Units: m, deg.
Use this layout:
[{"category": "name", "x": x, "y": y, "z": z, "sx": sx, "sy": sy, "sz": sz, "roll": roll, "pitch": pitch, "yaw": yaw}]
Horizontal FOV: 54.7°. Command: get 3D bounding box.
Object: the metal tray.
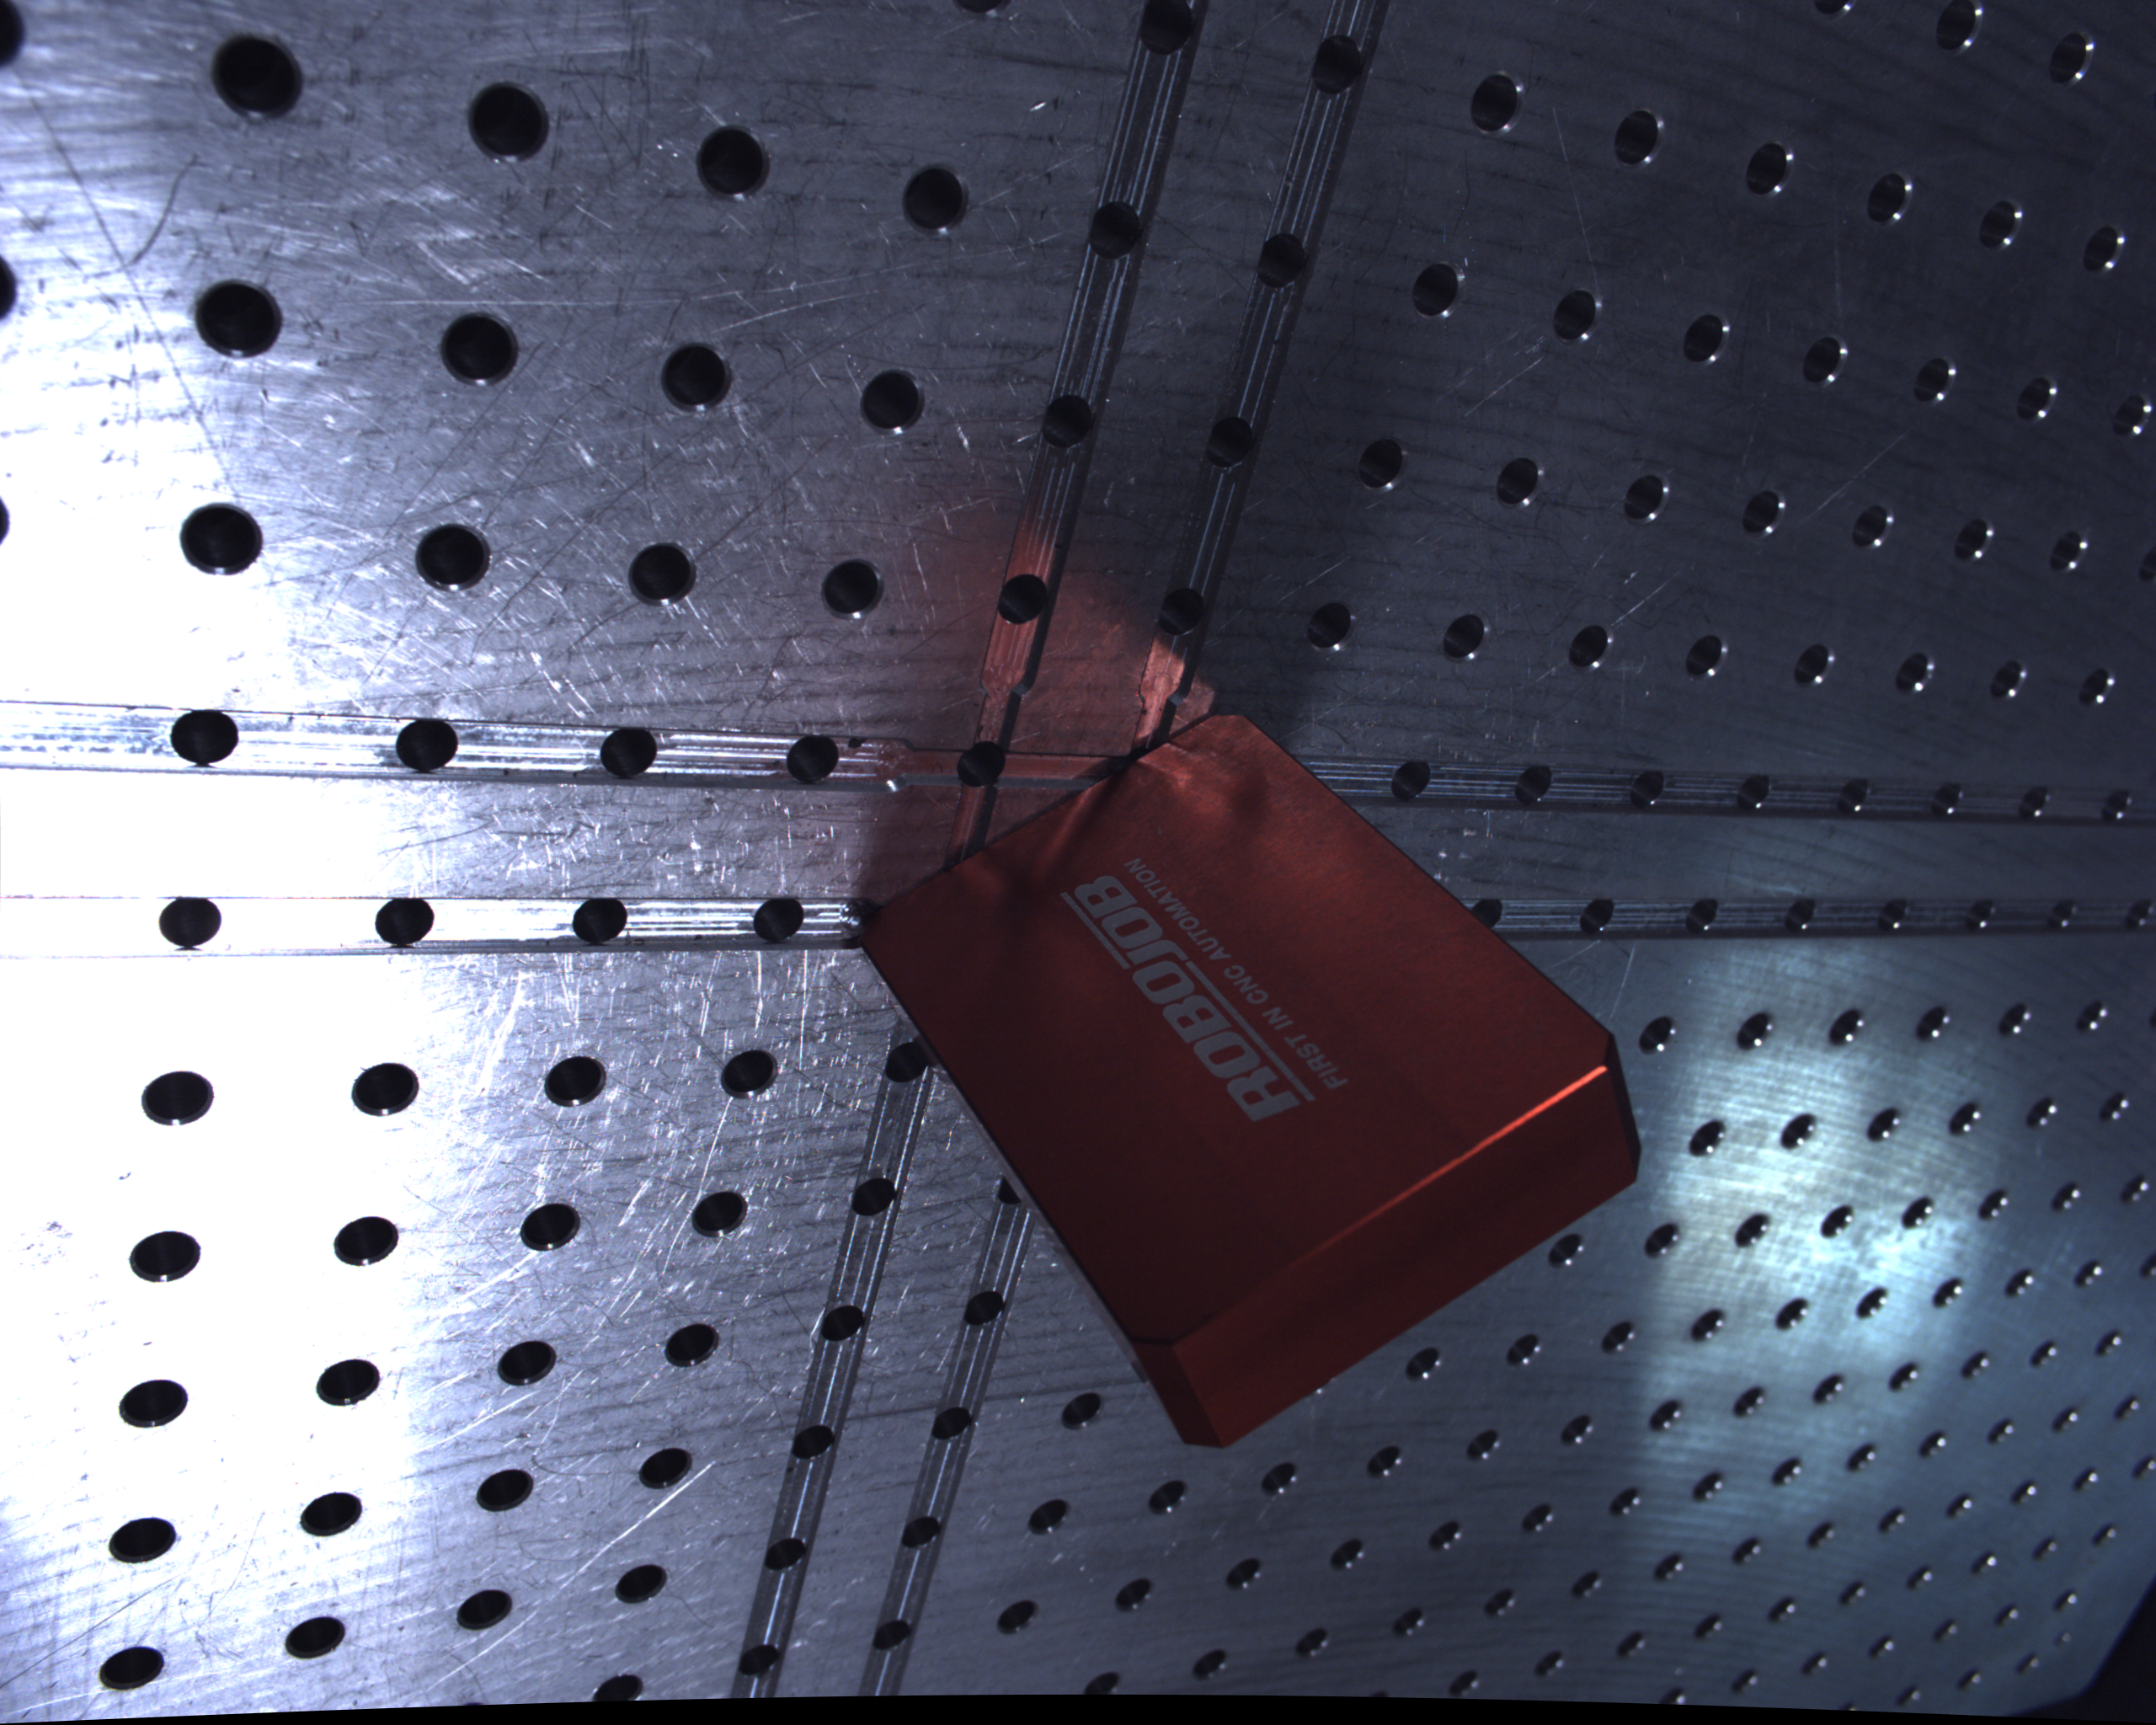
[{"category": "metal tray", "x": 0.025, "y": 0.031, "z": 0.377, "sx": 0.090, "sy": 0.130, "sz": 0.030, "roll": -31, "pitch": 129, "yaw": -9}]
